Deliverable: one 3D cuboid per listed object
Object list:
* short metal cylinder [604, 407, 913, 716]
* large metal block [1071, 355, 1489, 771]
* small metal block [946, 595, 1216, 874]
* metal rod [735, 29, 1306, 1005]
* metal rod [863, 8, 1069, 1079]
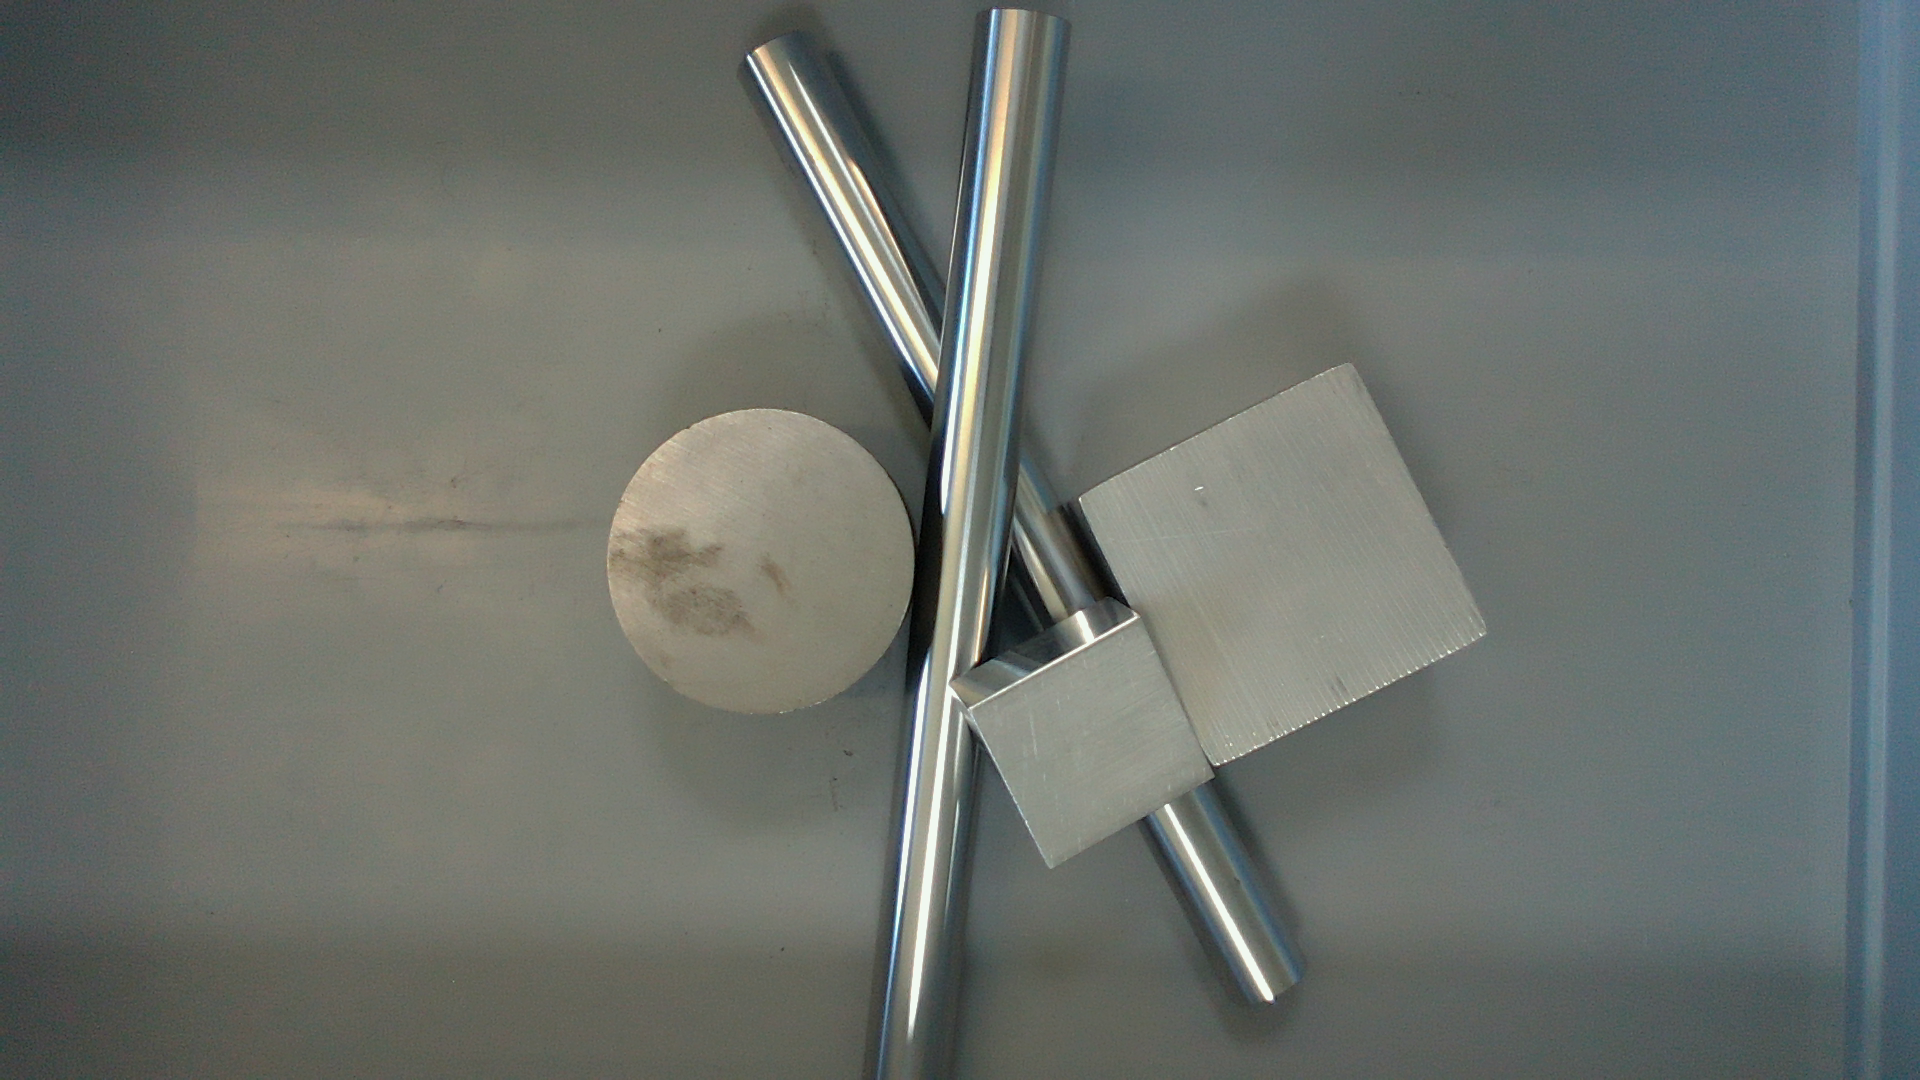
[{"bbox_3d":[-0.052,0.006,0.382,0.080,0.050,0.080,0,90,-1],"label":"short metal cylinder"},{"bbox_3d":[0.084,0.006,0.382,0.080,0.050,0.080,-27,90,0],"label":"large metal block"},{"bbox_3d":[0.032,0.050,0.363,0.050,0.025,0.050,-28,105,-8],"label":"small metal block"},{"bbox_3d":[0.018,-0.006,0.394,0.025,0.025,0.300,-28,91,0],"label":"metal rod"},{"bbox_3d":[0.000,0.014,0.375,0.025,0.025,0.300,6,98,0],"label":"metal rod"}]
